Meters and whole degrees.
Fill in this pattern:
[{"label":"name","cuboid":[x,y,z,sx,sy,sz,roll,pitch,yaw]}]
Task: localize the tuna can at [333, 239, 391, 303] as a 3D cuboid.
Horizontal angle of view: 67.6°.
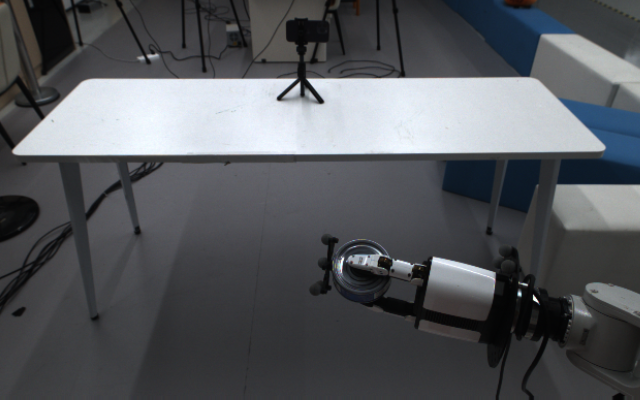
[{"label":"tuna can","cuboid":[0.062,0.102,0.678,0.085,0.034,0.085,-2,57,3]}]
